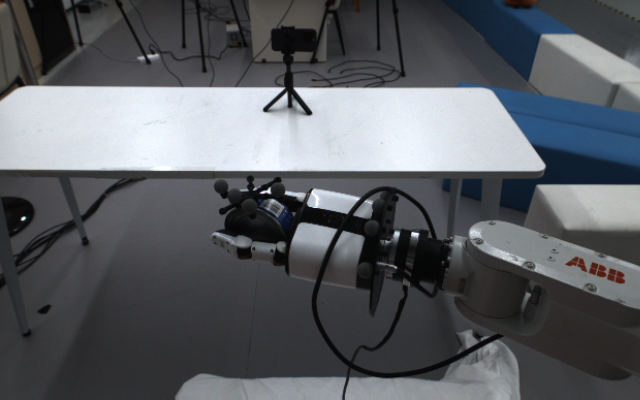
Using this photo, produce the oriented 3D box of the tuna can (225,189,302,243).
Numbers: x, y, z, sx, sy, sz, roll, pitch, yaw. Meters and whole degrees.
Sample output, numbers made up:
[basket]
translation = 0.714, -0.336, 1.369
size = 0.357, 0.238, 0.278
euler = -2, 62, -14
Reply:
[tuna can]
translation = -0.072, 0.033, 0.610
size = 0.085, 0.085, 0.034
euler = 14, 40, 16
